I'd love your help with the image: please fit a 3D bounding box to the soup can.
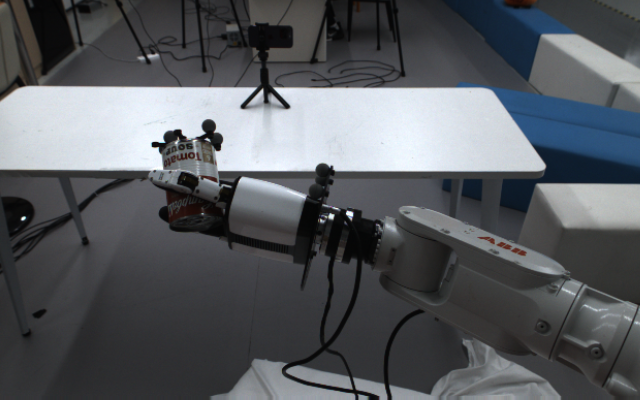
[{"bbox_3d":[-0.158,-0.017,0.606,0.067,0.067,0.101,-8,73,-14],"label":"soup can"}]
